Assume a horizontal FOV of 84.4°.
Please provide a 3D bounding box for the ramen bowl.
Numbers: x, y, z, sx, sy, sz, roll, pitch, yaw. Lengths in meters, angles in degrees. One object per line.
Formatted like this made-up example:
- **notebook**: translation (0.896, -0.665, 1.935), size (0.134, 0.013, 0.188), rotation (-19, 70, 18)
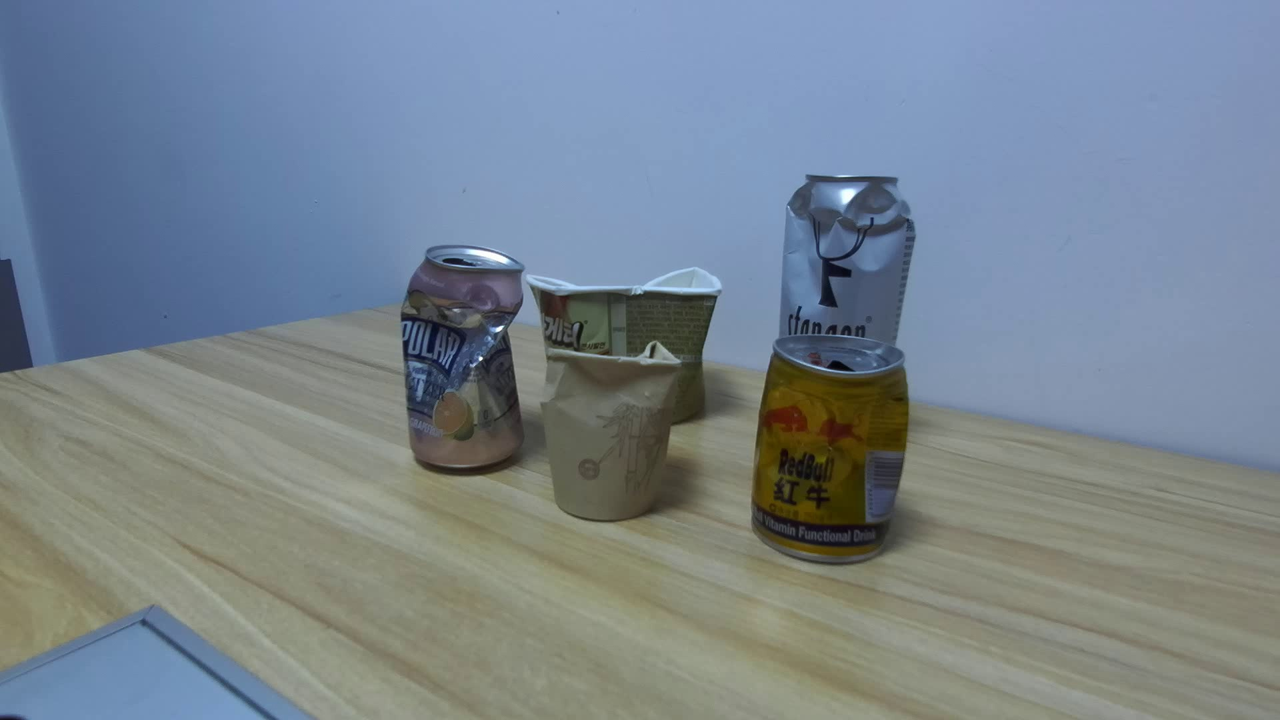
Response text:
- **ramen bowl**: translation (-0.013, -0.014, 0.502), size (0.128, 0.093, 0.111), rotation (-1, 16, -8)

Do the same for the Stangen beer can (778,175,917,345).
- **Stangen beer can**: translation (0.122, -0.028, 0.434), size (0.066, 0.166, 0.065), rotation (-3, 16, -19)

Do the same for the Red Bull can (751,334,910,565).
- **Red Bull can**: translation (0.087, 0.038, 0.331), size (0.072, 0.092, 0.072), rotation (2, 18, 0)

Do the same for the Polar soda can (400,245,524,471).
- **Polar soda can**: translation (-0.096, -0.001, 0.408), size (0.067, 0.121, 0.070), rotation (-7, 20, -43)

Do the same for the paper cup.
- **paper cup**: translation (-0.014, 0.032, 0.364), size (0.066, 0.083, 0.058), rotation (4, 15, 4)
